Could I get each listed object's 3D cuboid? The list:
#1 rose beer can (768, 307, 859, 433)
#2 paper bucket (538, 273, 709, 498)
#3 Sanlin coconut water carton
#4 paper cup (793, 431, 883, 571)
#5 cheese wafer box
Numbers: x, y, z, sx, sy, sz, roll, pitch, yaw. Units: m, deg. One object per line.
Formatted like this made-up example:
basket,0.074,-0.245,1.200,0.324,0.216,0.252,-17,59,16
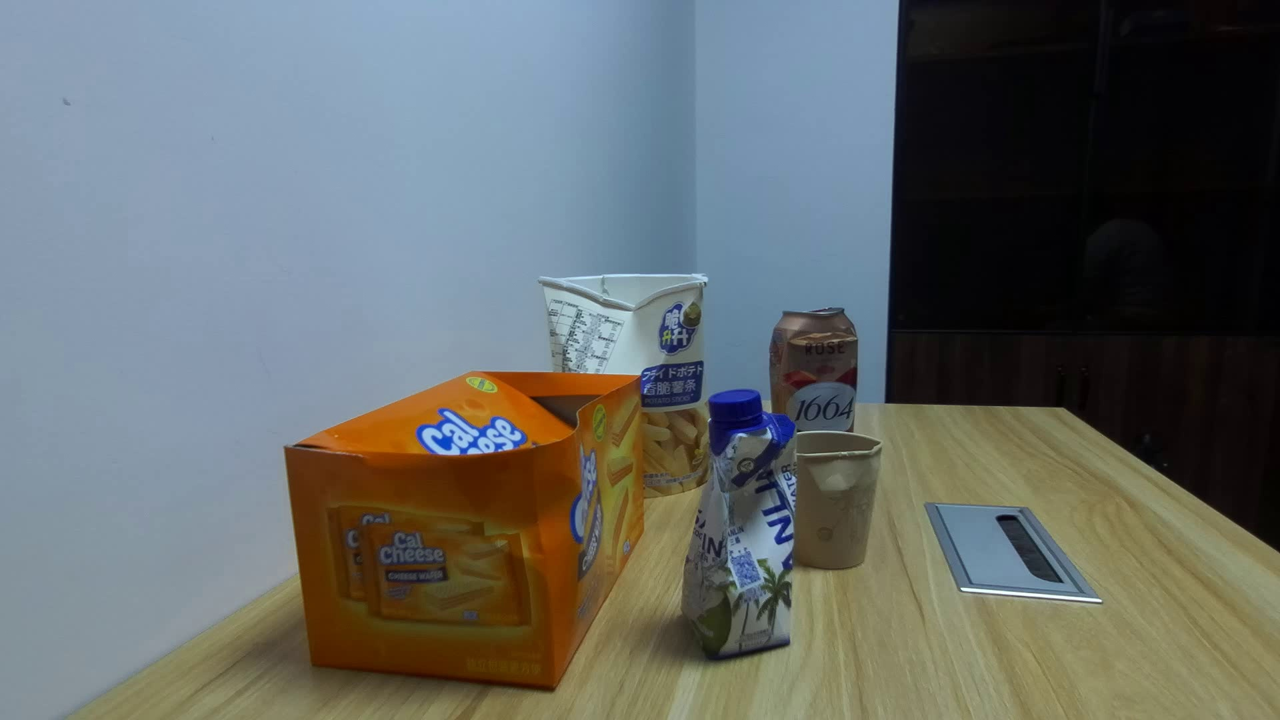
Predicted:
rose beer can,0.155,0.038,0.629,0.076,0.167,0.065,-4,6,2
paper bucket,-0.014,0.020,0.681,0.162,0.202,0.169,-2,3,4
Sanlin coconut water carton,0.064,0.090,0.393,0.069,0.144,0.056,4,14,-18
paper cup,0.134,0.099,0.502,0.074,0.081,0.068,-7,10,-44
cheese wafer box,-0.088,0.092,0.461,0.152,0.132,0.231,3,8,12
